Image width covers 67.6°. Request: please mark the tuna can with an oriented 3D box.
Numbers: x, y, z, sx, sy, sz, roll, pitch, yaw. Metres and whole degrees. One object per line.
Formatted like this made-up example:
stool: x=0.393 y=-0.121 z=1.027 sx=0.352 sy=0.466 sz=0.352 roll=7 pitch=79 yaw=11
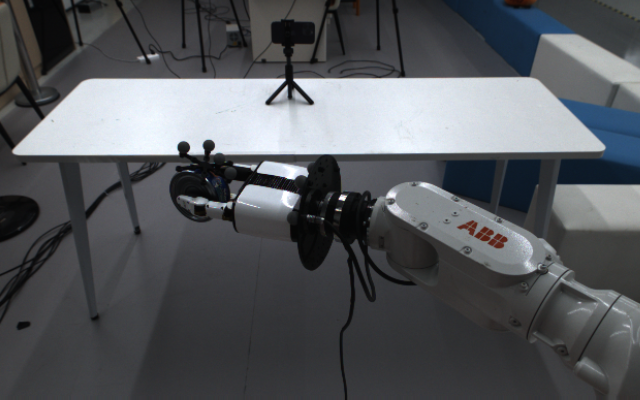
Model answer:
tuna can: x=-0.177 y=-0.010 z=0.713 sx=0.085 sy=0.085 sz=0.034 roll=15 pitch=30 yaw=17
